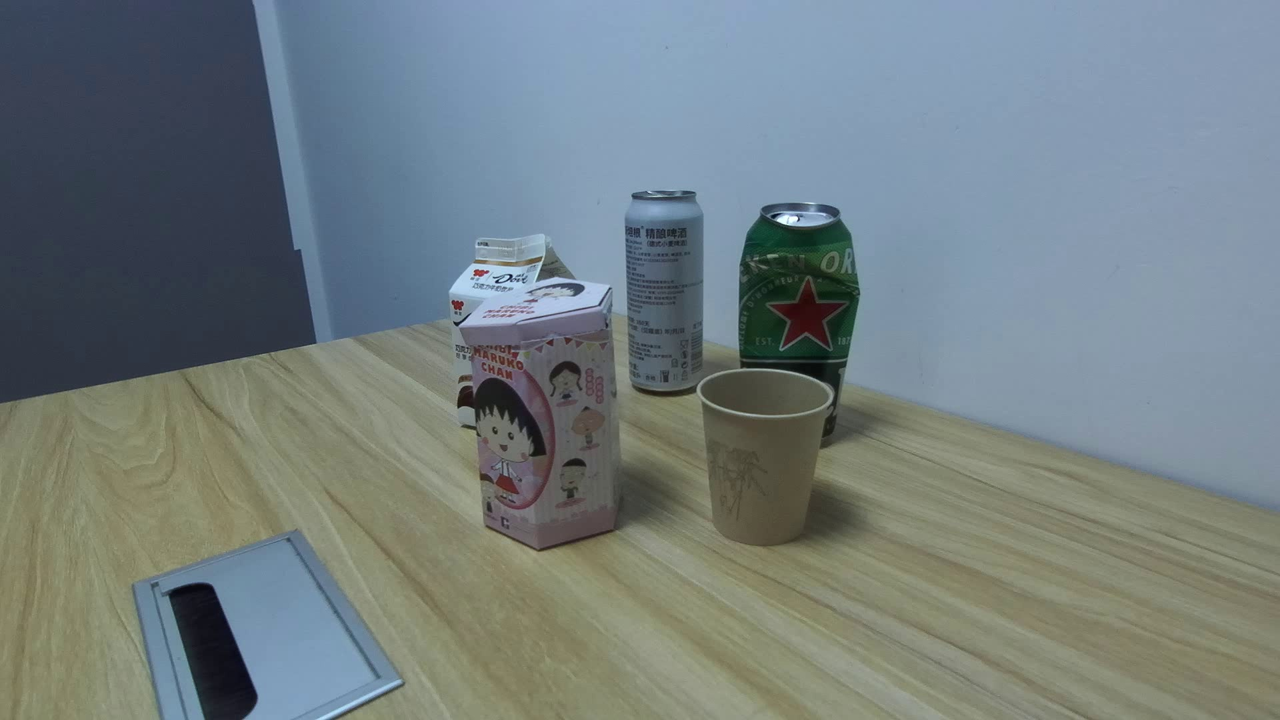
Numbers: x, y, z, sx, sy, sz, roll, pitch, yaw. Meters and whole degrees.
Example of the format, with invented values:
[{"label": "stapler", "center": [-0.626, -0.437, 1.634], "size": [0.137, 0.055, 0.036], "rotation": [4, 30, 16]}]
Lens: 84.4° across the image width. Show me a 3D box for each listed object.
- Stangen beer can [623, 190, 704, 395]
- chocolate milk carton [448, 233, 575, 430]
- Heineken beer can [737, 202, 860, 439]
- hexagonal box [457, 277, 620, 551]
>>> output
[{"label": "Stangen beer can", "center": [0.021, -0.057, 0.610], "size": [0.067, 0.171, 0.067], "rotation": [-1, 16, 1]}, {"label": "chocolate milk carton", "center": [-0.093, -0.025, 0.550], "size": [0.075, 0.148, 0.074], "rotation": [9, 21, 26]}, {"label": "Heineken beer can", "center": [0.109, -0.022, 0.501], "size": [0.069, 0.168, 0.068], "rotation": [-22, 30, -39]}, {"label": "hexagonal box", "center": [-0.051, 0.028, 0.412], "size": [0.091, 0.135, 0.085], "rotation": [13, 23, 36]}]
